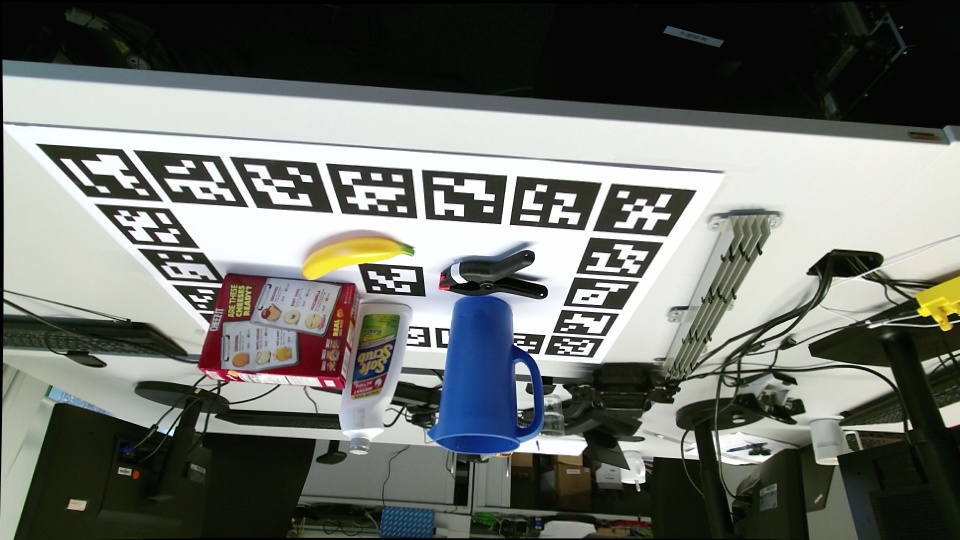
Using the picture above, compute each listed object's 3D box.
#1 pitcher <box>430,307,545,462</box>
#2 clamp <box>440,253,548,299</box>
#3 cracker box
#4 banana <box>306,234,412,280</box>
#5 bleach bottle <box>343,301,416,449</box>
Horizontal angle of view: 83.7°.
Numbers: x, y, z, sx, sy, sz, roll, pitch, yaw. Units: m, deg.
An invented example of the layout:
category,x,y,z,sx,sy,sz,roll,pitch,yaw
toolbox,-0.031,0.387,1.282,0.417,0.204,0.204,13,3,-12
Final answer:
category,x,y,z,sx,sy,sz,roll,pitch,yaw
pitcher,0.014,0.189,0.890,0.189,0.241,0.133,-4,150,16
clamp,0.017,0.015,0.838,0.165,0.036,0.122,-3,150,14
cracker box,-0.324,0.107,0.873,0.214,0.163,0.072,4,152,-4
banana,-0.202,-0.019,0.814,0.198,0.038,0.074,-15,146,27
bleach bottle,-0.175,0.179,0.929,0.103,0.249,0.068,4,150,-2
